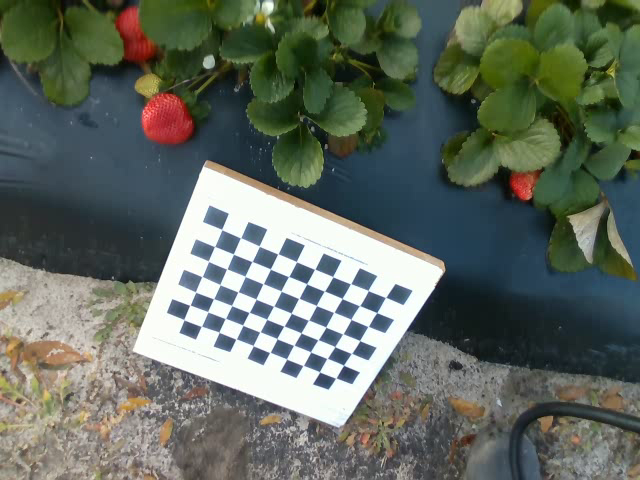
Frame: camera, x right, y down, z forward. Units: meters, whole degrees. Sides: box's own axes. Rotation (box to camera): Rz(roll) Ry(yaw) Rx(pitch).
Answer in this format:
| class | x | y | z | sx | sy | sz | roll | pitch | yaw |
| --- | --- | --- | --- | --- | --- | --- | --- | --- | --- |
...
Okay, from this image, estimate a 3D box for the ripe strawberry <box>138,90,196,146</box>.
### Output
| class | x | y | z | sx | sy | sz | roll | pitch | yaw |
| --- | --- | --- | --- | --- | --- | --- | --- | --- | --- |
| ripe strawberry | -0.070 | -0.052 | 0.261 | 0.022 | 0.025 | 0.030 | 21 | 37 | 20 |
